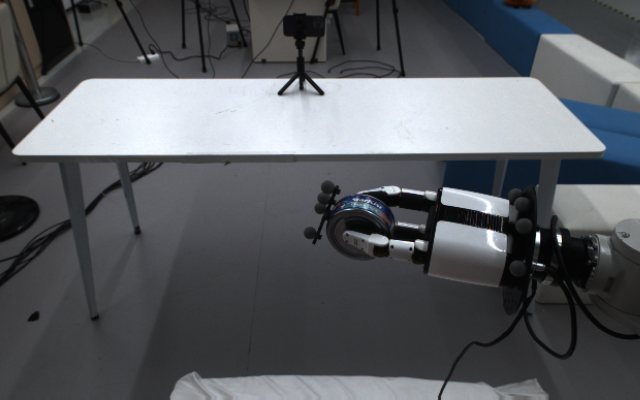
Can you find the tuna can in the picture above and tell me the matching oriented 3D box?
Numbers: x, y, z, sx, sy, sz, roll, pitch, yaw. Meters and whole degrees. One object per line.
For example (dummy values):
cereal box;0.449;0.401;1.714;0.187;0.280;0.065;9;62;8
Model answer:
tuna can;0.054;0.035;0.625;0.085;0.085;0.034;9;35;10
